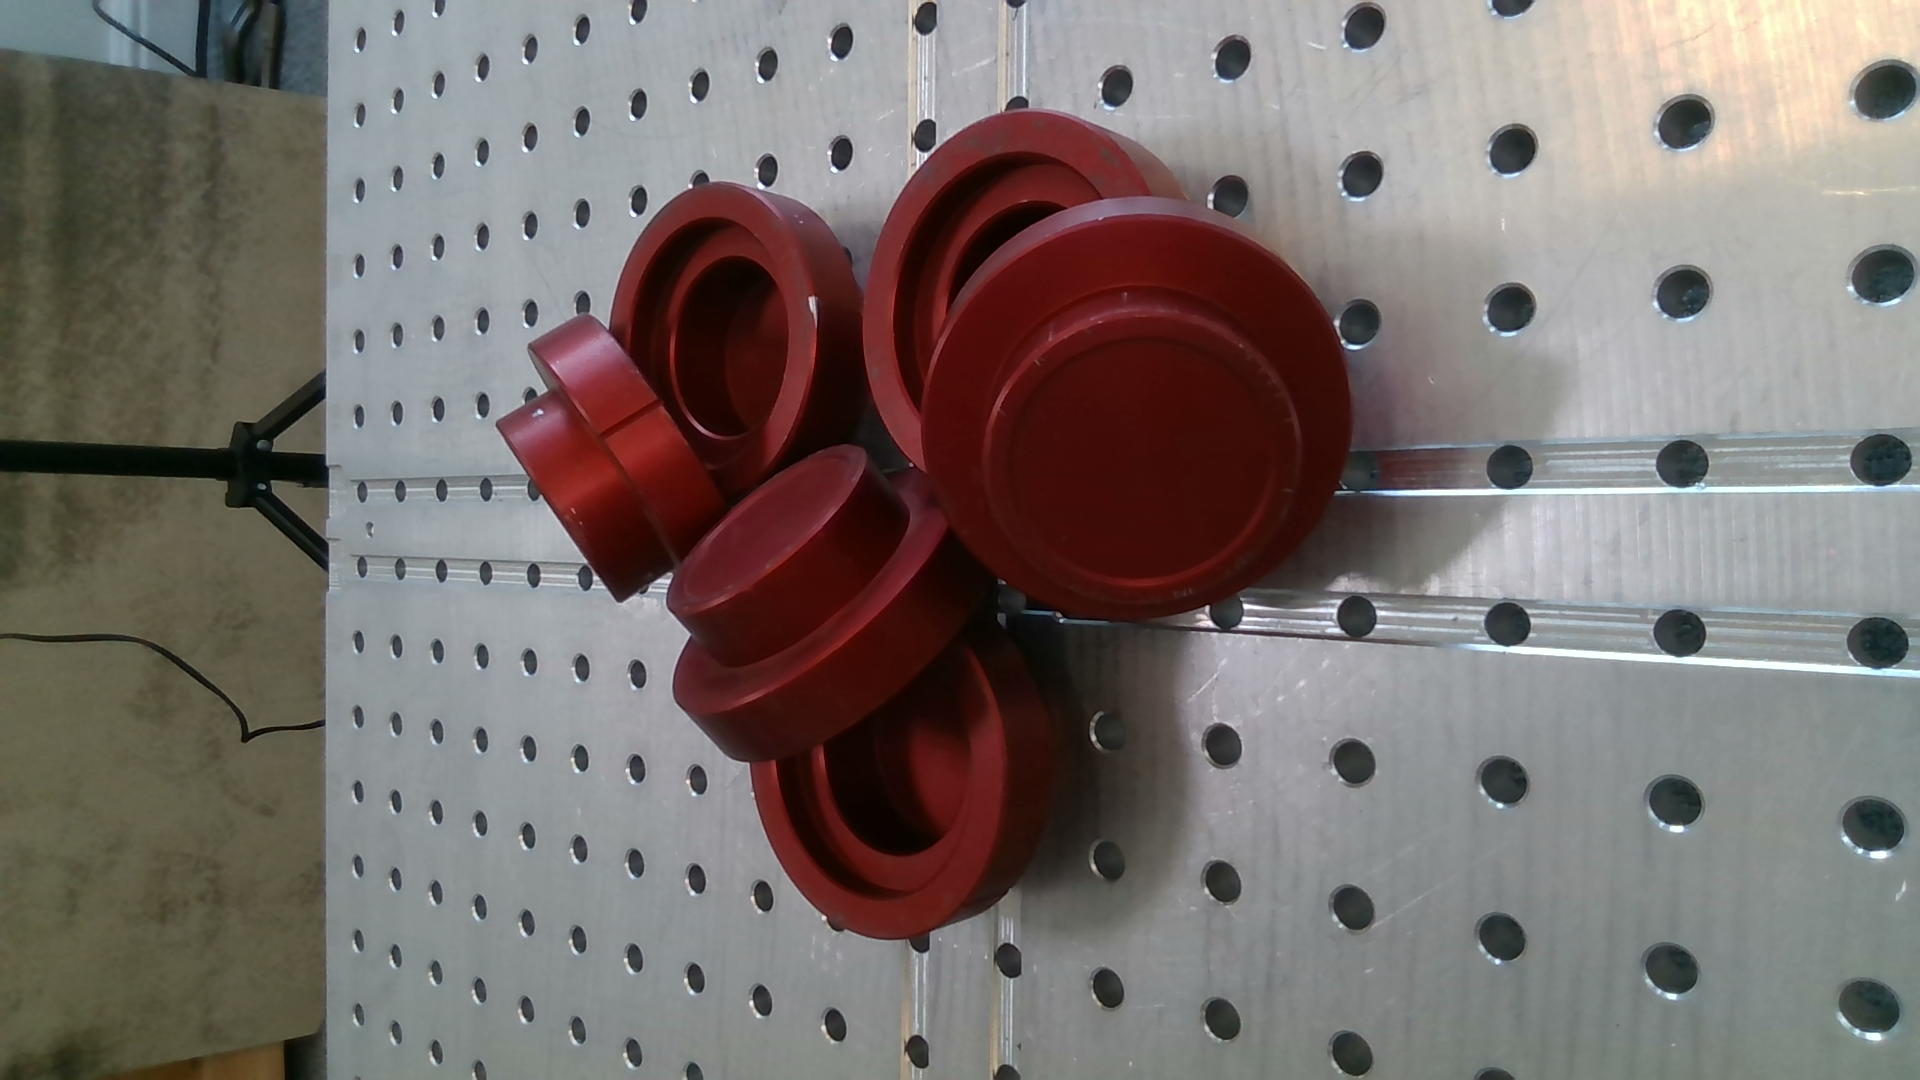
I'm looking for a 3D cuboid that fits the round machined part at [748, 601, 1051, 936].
[{"bbox_3d":[-0.013,0.059,0.393,0.098,0.042,0.098,0,91,40],"label":"round machined part"}]

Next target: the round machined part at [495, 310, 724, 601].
[{"bbox_3d":[-0.110,-0.020,0.438,0.098,0.042,0.098,50,165,19],"label":"round machined part"}]

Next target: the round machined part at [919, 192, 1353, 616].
[{"bbox_3d":[0.040,-0.025,0.313,0.098,0.042,0.098,1,116,2],"label":"round machined part"}]

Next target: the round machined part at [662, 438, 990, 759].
[{"bbox_3d":[-0.042,0.010,0.379,0.098,0.098,0.042,-18,121,39],"label":"round machined part"}]

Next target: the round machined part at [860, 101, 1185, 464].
[{"bbox_3d":[0.023,-0.060,0.361,0.098,0.042,0.098,0,91,40],"label":"round machined part"}]

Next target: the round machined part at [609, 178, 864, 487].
[{"bbox_3d":[-0.065,-0.061,0.436,0.098,0.042,0.098,0,91,40],"label":"round machined part"}]
